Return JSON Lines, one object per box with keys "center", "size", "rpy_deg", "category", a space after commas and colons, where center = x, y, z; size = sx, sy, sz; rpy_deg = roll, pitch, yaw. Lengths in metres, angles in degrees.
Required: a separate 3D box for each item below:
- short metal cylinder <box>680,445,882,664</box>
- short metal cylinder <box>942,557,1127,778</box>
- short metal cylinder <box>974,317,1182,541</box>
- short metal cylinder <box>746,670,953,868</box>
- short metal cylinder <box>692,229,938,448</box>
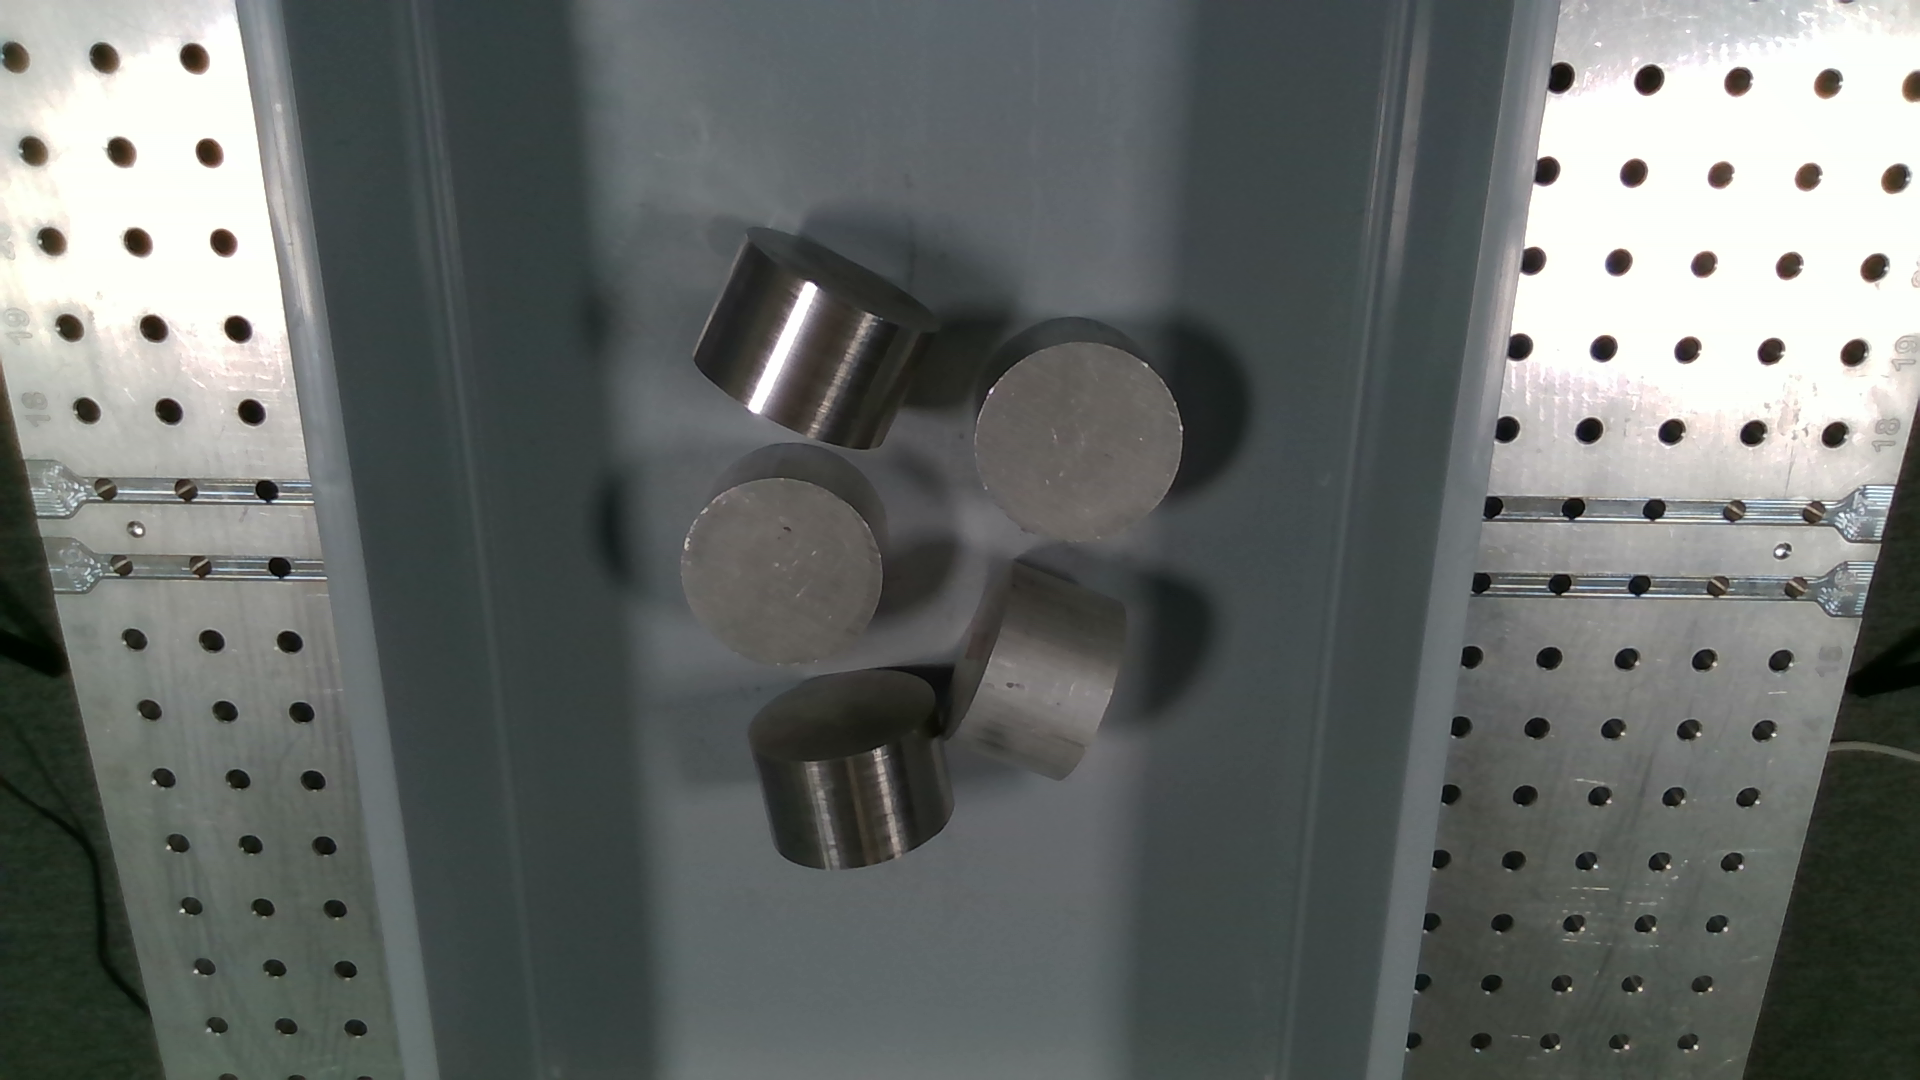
{"center": [-0.071, 0.005, 0.572], "size": [0.080, 0.050, 0.080], "rpy_deg": [0, 110, 0], "category": "short metal cylinder"}
{"center": [0.030, 0.053, 0.575], "size": [0.050, 0.080, 0.080], "rpy_deg": [20, 109, -7], "category": "short metal cylinder"}
{"center": [0.046, -0.046, 0.553], "size": [0.080, 0.050, 0.080], "rpy_deg": [0, 110, 0], "category": "short metal cylinder"}
{"center": [-0.047, 0.096, 0.590], "size": [0.080, 0.080, 0.050], "rpy_deg": [-9, 110, 3], "category": "short metal cylinder"}
{"center": [-0.055, -0.077, 0.525], "size": [0.080, 0.080, 0.050], "rpy_deg": [25, 108, -9], "category": "short metal cylinder"}
